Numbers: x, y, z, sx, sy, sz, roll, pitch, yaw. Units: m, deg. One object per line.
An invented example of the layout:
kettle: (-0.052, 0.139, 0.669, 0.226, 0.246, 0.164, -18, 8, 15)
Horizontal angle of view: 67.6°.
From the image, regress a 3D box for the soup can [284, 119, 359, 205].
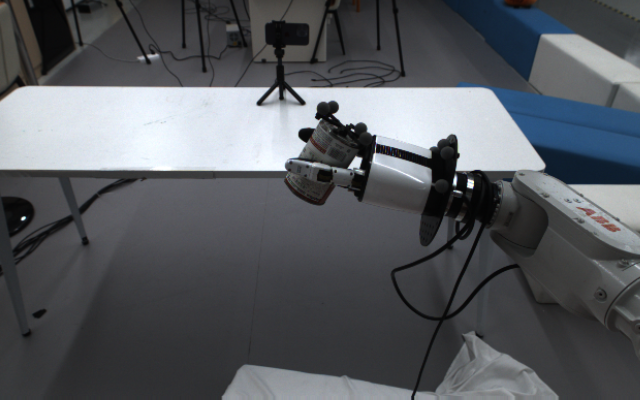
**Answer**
soup can: (0.004, -0.052, 0.671, 0.067, 0.101, 0.067, 28, 22, -12)
